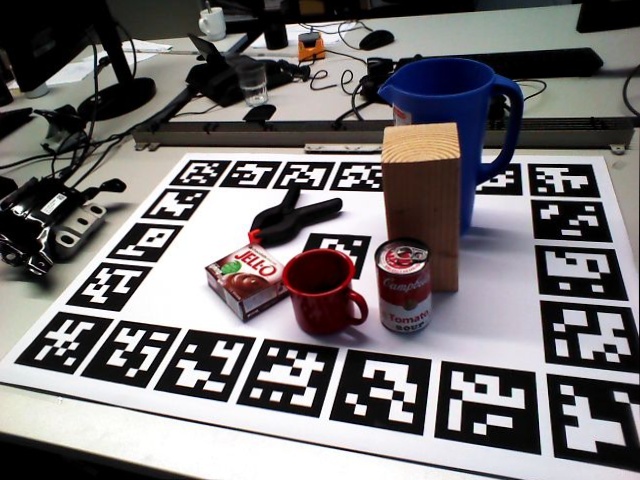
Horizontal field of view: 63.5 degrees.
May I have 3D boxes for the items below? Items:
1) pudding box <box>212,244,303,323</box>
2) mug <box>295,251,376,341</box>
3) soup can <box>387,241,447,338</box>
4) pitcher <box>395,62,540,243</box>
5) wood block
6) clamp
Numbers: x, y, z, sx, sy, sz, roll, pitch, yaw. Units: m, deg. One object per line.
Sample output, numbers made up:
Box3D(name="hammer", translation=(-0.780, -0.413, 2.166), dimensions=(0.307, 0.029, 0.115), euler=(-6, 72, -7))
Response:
Box3D(name="pudding box", translation=(-0.090, 0.060, 0.746), dimensions=(0.089, 0.039, 0.114), euler=(-32, 40, -21))
Box3D(name="mug", translation=(0.028, 0.077, 0.650), dimensions=(0.093, 0.081, 0.117), euler=(-28, 38, -26))
Box3D(name="soup can", translation=(0.120, 0.062, 0.628), dimensions=(0.068, 0.102, 0.067), euler=(-8, 39, 6))
Box3D(name="pitcher", translation=(0.209, -0.117, 0.730), dimensions=(0.190, 0.243, 0.132), euler=(1, 36, 20))
Box3D(name="wood block", translation=(0.154, -0.033, 0.658), dimensions=(0.090, 0.207, 0.090), euler=(4, 39, 14))
Box3D(name="clamp", translation=(-0.023, -0.032, 0.860), dimensions=(0.164, 0.037, 0.122), euler=(-36, 50, -29))
